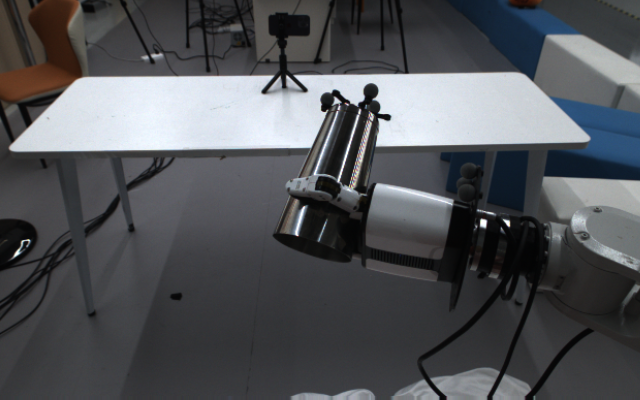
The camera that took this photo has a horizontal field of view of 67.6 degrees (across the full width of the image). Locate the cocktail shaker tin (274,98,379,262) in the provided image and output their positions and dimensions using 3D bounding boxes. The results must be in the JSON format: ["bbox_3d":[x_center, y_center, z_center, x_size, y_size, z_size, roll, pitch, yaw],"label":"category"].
[{"bbox_3d":[0.015,-0.022,0.564,0.093,0.093,0.170,14,72,16],"label":"cocktail shaker tin"}]
